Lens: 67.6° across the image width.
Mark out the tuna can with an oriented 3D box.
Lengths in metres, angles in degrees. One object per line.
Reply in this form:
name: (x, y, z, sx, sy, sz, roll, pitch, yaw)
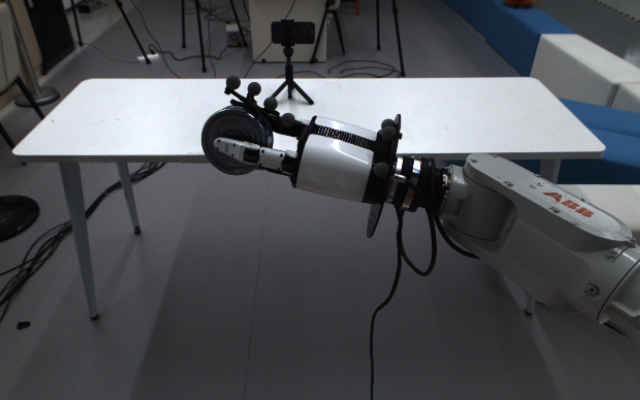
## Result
tuna can: (-0.101, -0.069, 0.605, 0.085, 0.085, 0.034, 6, 19, 6)
